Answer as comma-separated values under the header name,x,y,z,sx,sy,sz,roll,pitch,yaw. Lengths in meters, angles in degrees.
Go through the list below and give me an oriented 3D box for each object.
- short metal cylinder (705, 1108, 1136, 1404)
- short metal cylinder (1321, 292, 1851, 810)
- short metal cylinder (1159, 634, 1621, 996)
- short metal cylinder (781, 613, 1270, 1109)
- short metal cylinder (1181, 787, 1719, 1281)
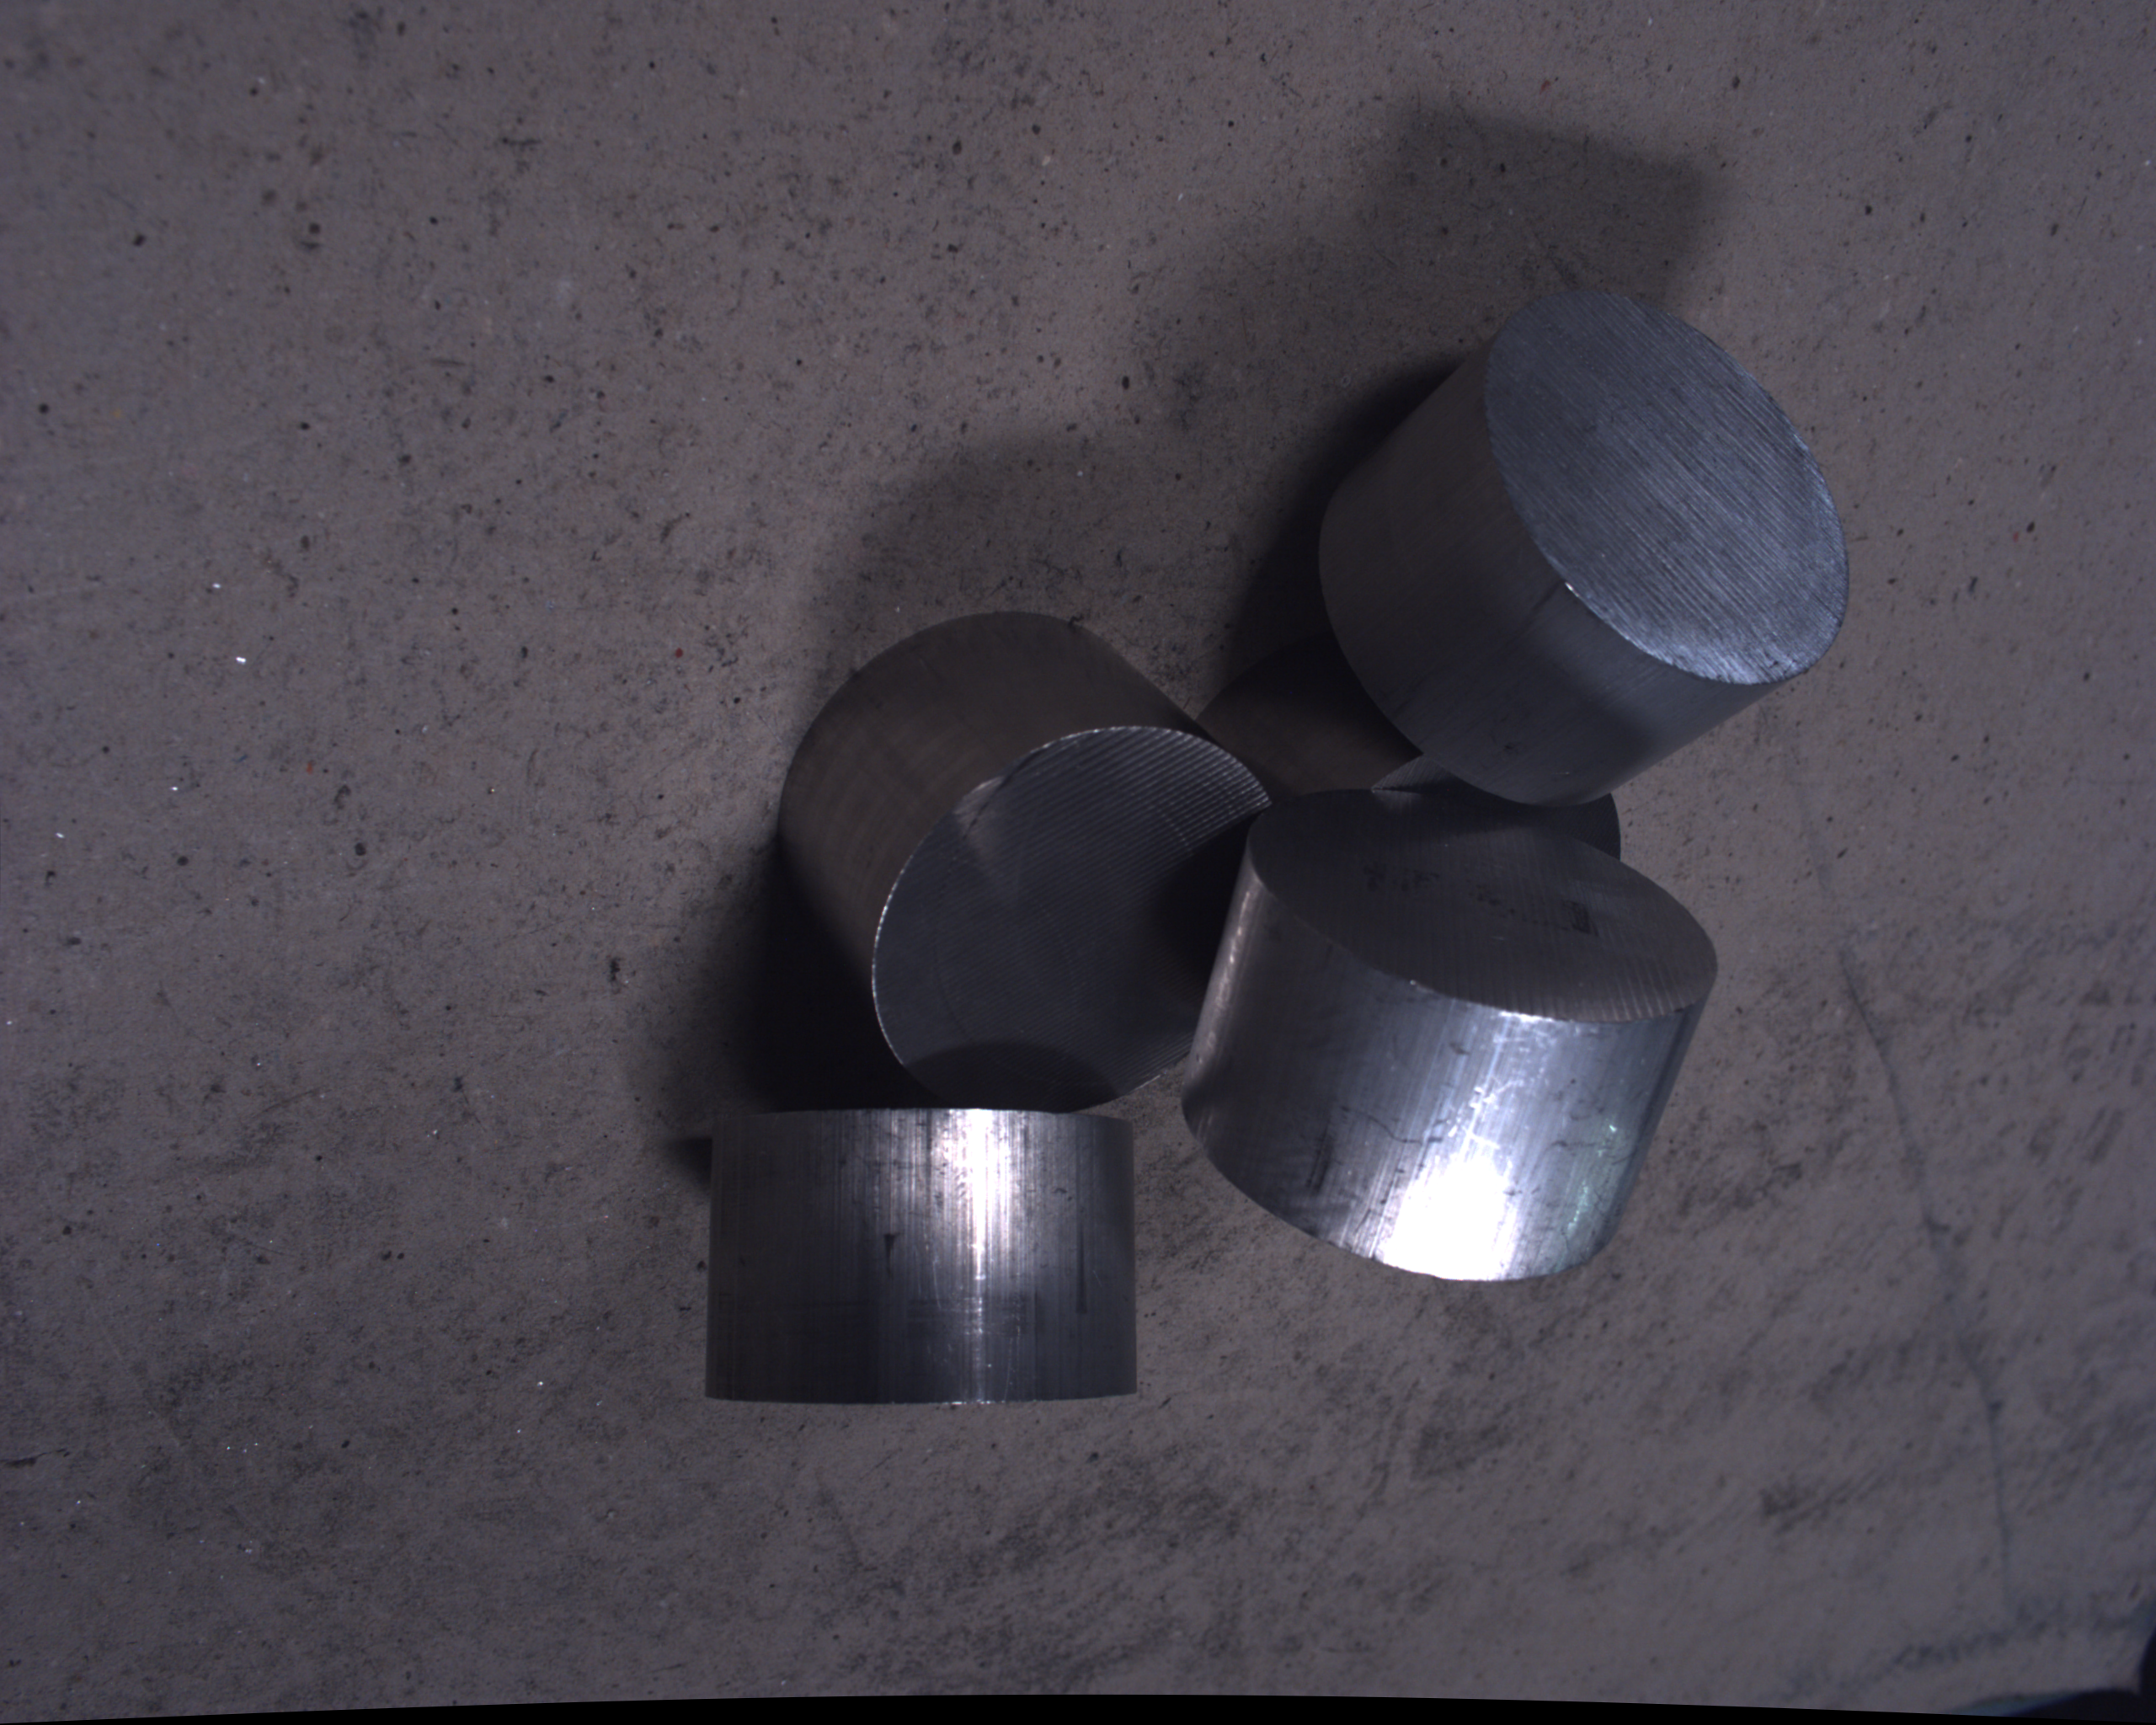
name,x,y,z,sx,sy,sz,roll,pitch,yaw
short metal cylinder,-0.029,0.075,0.396,0.081,0.080,0.050,7,76,-32
short metal cylinder,0.092,-0.056,0.381,0.081,0.080,0.050,0,156,-29
short metal cylinder,0.062,-0.001,0.427,0.081,0.050,0.079,-14,125,-21
short metal cylinder,-0.009,0.000,0.388,0.081,0.050,0.079,-14,125,-21
short metal cylinder,0.063,0.027,0.360,0.081,0.080,0.050,-2,119,-28
